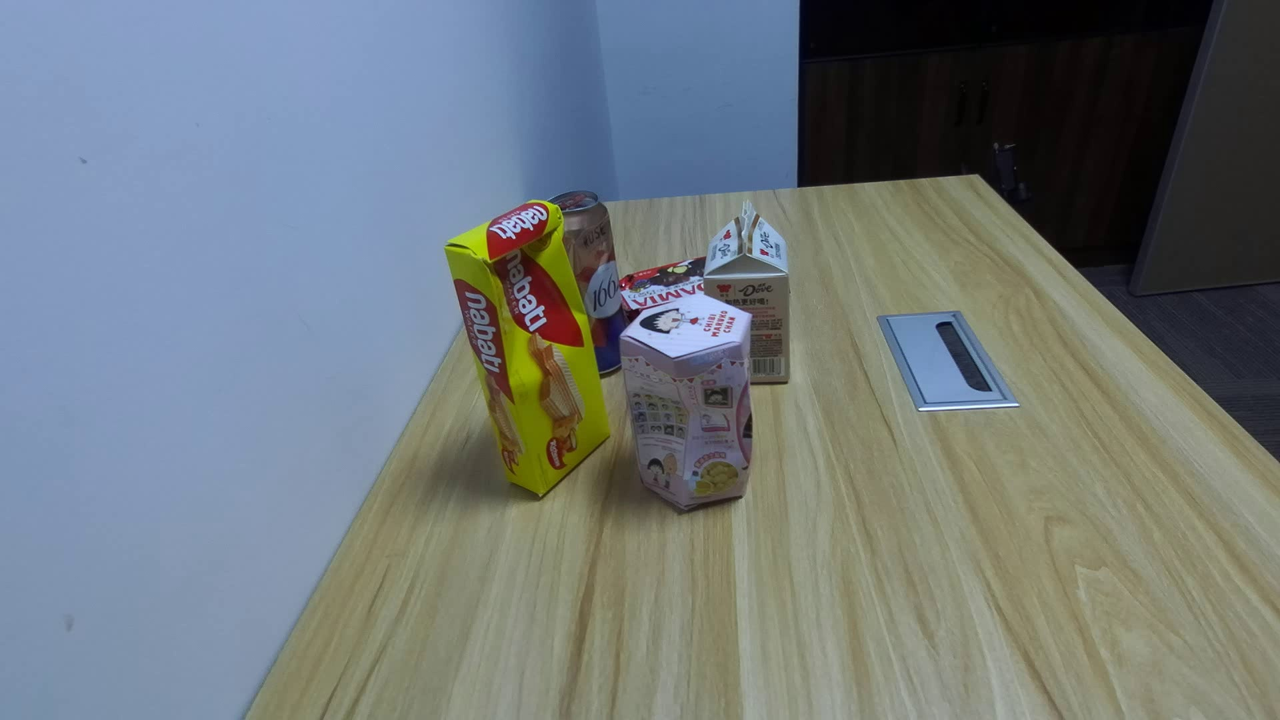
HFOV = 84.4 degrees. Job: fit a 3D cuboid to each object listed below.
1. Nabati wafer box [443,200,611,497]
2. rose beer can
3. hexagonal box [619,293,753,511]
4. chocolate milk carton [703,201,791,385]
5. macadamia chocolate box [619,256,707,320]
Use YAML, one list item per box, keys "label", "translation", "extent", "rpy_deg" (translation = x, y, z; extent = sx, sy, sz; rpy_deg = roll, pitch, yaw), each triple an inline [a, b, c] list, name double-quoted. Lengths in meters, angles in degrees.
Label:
- label: "Nabati wafer box"
  translation: [-0.076, -0.006, 0.527]
  extent: [0.042, 0.204, 0.097]
  rpy_deg: [15, 37, 34]
- label: "rose beer can"
  translation: [-0.052, -0.068, 0.657]
  extent: [0.065, 0.167, 0.076]
  rpy_deg: [15, 40, 36]
- label: "hexagonal box"
  translation: [0.038, 0.033, 0.505]
  extent: [0.093, 0.135, 0.088]
  rpy_deg: [-16, 33, -14]
- label: "chocolate milk carton"
  translation: [0.095, -0.061, 0.626]
  extent: [0.074, 0.148, 0.075]
  rpy_deg: [-1, 32, 9]
- label: "macadamia chocolate box"
  translation: [0.061, -0.082, 0.786]
  extent: [0.187, 0.027, 0.102]
  rpy_deg: [-12, 32, -1]
